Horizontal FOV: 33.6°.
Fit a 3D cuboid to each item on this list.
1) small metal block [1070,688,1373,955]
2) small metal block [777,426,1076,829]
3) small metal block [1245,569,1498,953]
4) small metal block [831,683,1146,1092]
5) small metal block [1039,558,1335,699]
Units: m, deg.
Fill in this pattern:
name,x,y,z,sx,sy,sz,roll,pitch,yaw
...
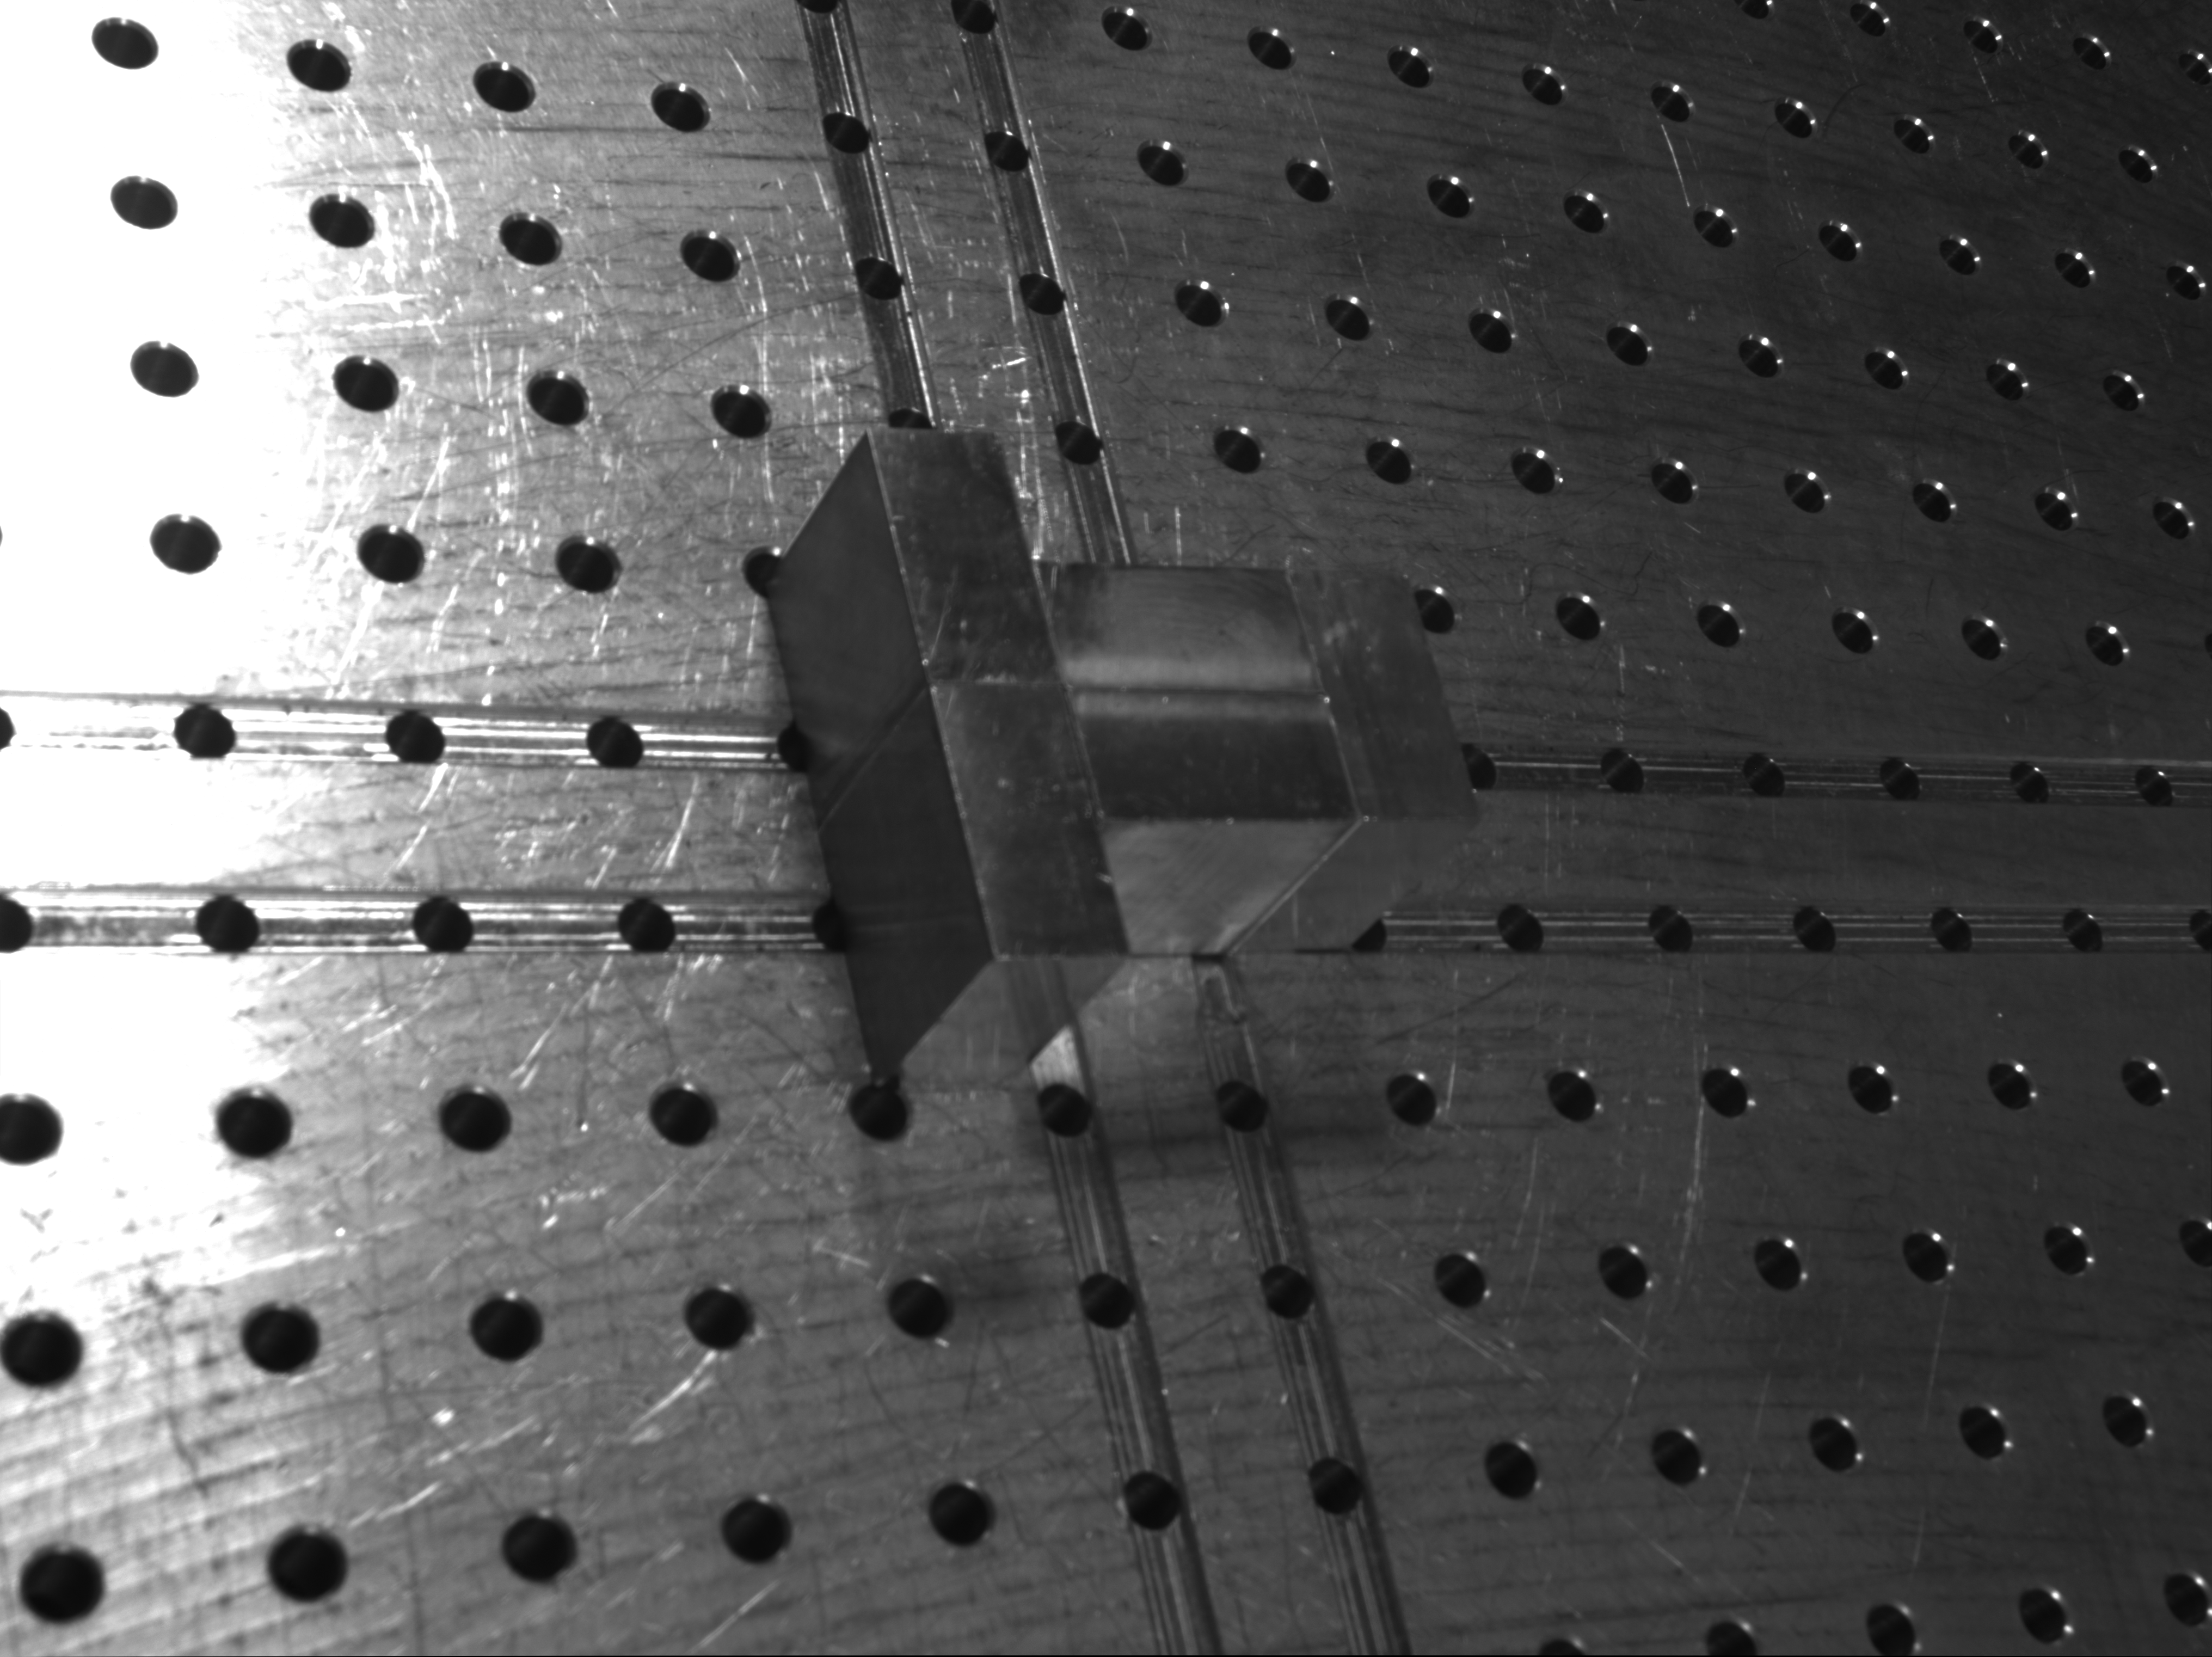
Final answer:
name,x,y,z,sx,sy,sz,roll,pitch,yaw
small metal block,0.010,0.000,0.631,0.050,0.050,0.025,0,62,-28
small metal block,-0.032,-0.034,0.629,0.025,0.050,0.050,0,62,-28
small metal block,0.041,-0.011,0.655,0.025,0.050,0.050,0,62,-28
small metal block,-0.021,0.010,0.609,0.025,0.050,0.050,0,62,-28
small metal block,0.004,-0.023,0.642,0.050,0.050,0.025,0,62,-28
